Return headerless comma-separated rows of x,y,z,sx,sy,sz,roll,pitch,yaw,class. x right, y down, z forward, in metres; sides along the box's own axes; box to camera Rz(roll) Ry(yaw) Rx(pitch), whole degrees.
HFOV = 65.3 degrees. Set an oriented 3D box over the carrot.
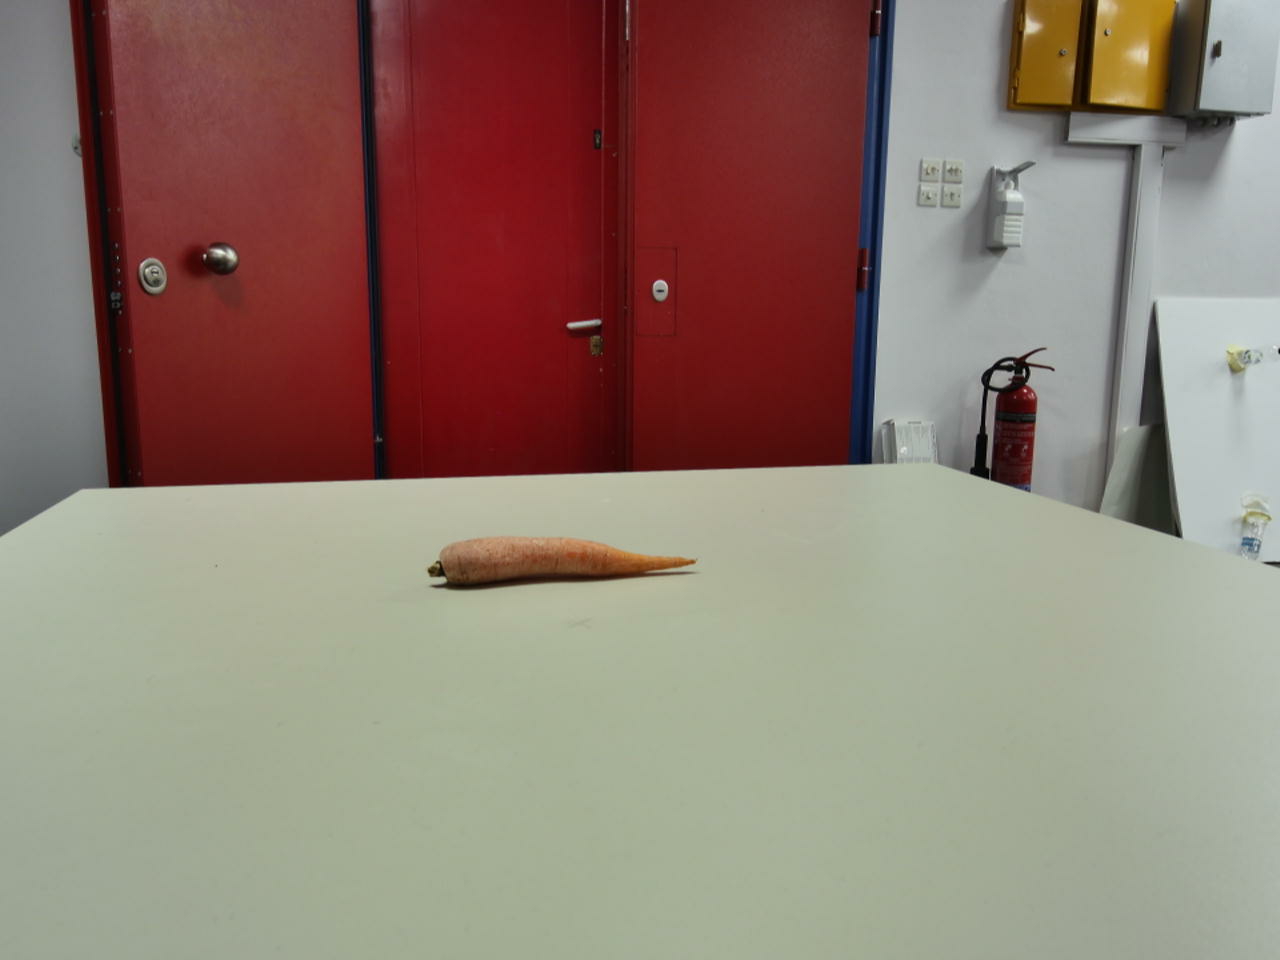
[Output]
-0.044,0.048,0.618,0.163,0.029,0.031,-2,8,-12,carrot
